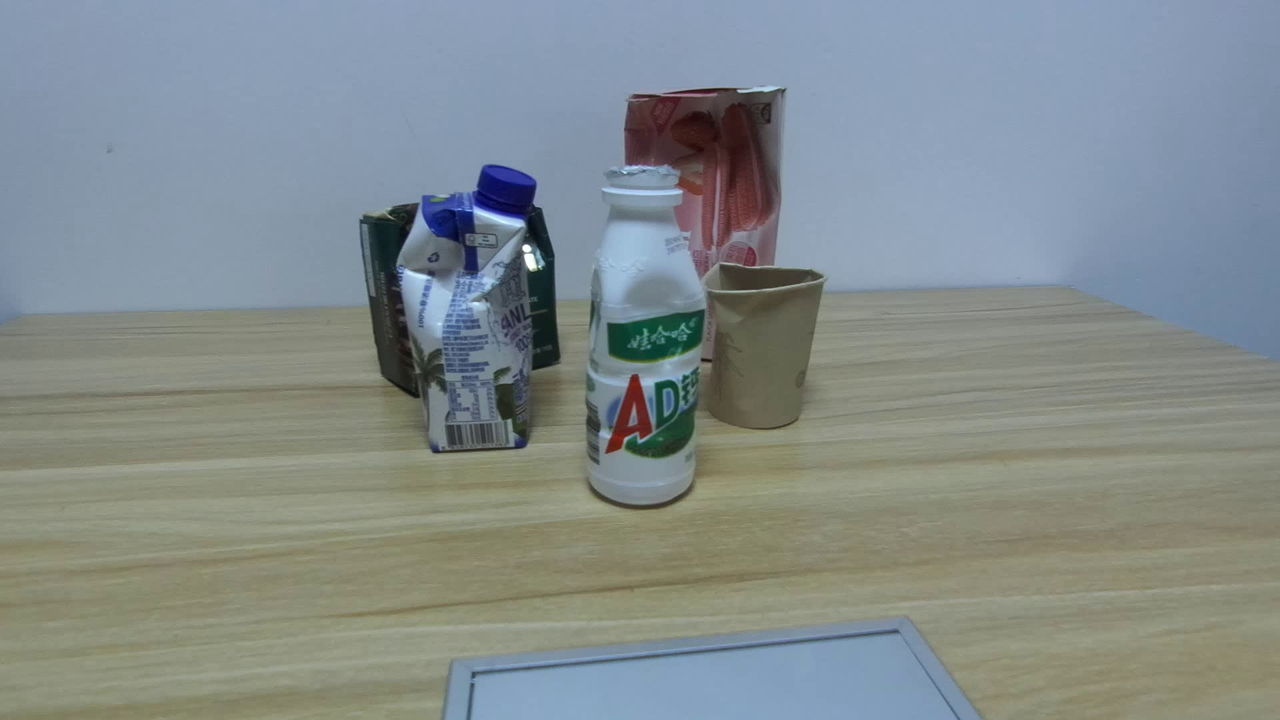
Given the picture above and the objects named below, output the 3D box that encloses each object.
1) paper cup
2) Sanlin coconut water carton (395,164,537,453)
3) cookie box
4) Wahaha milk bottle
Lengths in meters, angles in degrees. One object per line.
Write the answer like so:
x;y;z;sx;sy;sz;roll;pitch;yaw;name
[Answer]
0.069;-0.008;0.406;0.071;0.084;0.066;2;19;7;paper cup
-0.088;-0.027;0.372;0.070;0.144;0.060;-1;21;-7;Sanlin coconut water carton
0.042;-0.091;0.491;0.118;0.184;0.055;6;21;19;cookie box
0.001;-0.006;0.328;0.055;0.149;0.055;0;11;0;Wahaha milk bottle
